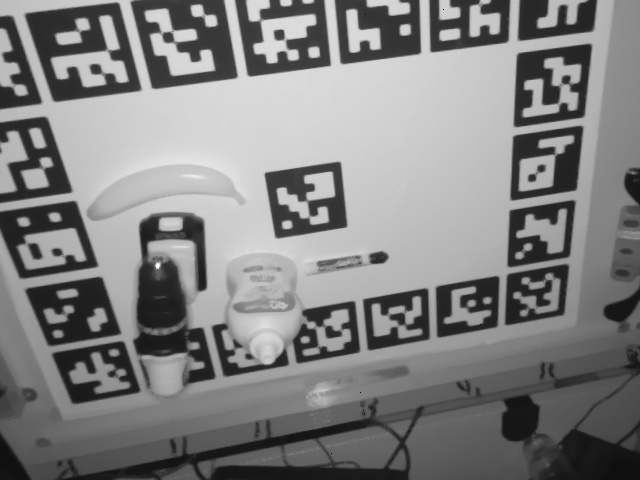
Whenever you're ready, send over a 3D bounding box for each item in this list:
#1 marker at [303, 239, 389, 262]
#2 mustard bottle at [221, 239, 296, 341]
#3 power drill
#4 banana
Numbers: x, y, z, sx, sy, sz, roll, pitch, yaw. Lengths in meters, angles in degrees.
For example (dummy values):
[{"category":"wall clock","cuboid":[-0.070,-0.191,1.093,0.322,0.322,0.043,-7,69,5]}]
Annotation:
[{"category":"marker","cuboid":[0.037,0.014,0.974,0.121,0.020,0.019,-8,117,-5]},{"category":"mustard bottle","cuboid":[-0.080,0.066,0.885,0.097,0.192,0.058,1,117,-7]},{"category":"power drill","cuboid":[-0.190,0.034,0.833,0.058,0.188,0.182,4,119,-7]},{"category":"banana","cuboid":[-0.201,-0.088,0.878,0.198,0.039,0.073,-3,116,-9]}]
